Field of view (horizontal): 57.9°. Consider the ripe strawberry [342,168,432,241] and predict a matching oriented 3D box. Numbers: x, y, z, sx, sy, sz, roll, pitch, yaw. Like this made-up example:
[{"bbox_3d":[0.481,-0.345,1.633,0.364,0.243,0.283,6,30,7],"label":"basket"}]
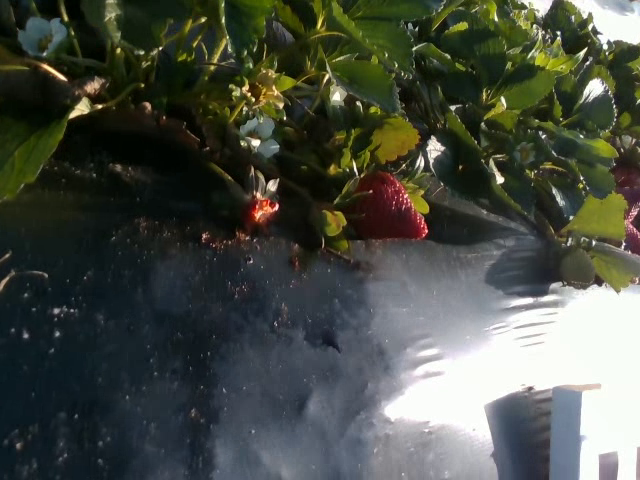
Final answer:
[{"bbox_3d":[0.044,-0.016,0.339,0.052,0.041,0.051,-30,47,-33],"label":"ripe strawberry"}]
